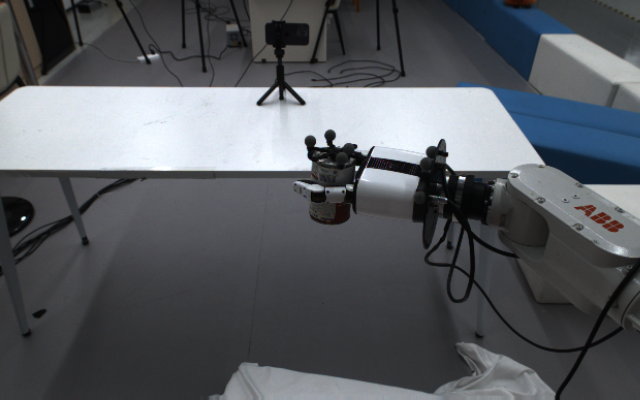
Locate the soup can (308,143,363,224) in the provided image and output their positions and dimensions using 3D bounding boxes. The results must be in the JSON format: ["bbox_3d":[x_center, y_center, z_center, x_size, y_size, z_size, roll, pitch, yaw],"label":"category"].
[{"bbox_3d":[0.019,-0.021,0.743,0.067,0.101,0.067,3,30,-2],"label":"soup can"}]
